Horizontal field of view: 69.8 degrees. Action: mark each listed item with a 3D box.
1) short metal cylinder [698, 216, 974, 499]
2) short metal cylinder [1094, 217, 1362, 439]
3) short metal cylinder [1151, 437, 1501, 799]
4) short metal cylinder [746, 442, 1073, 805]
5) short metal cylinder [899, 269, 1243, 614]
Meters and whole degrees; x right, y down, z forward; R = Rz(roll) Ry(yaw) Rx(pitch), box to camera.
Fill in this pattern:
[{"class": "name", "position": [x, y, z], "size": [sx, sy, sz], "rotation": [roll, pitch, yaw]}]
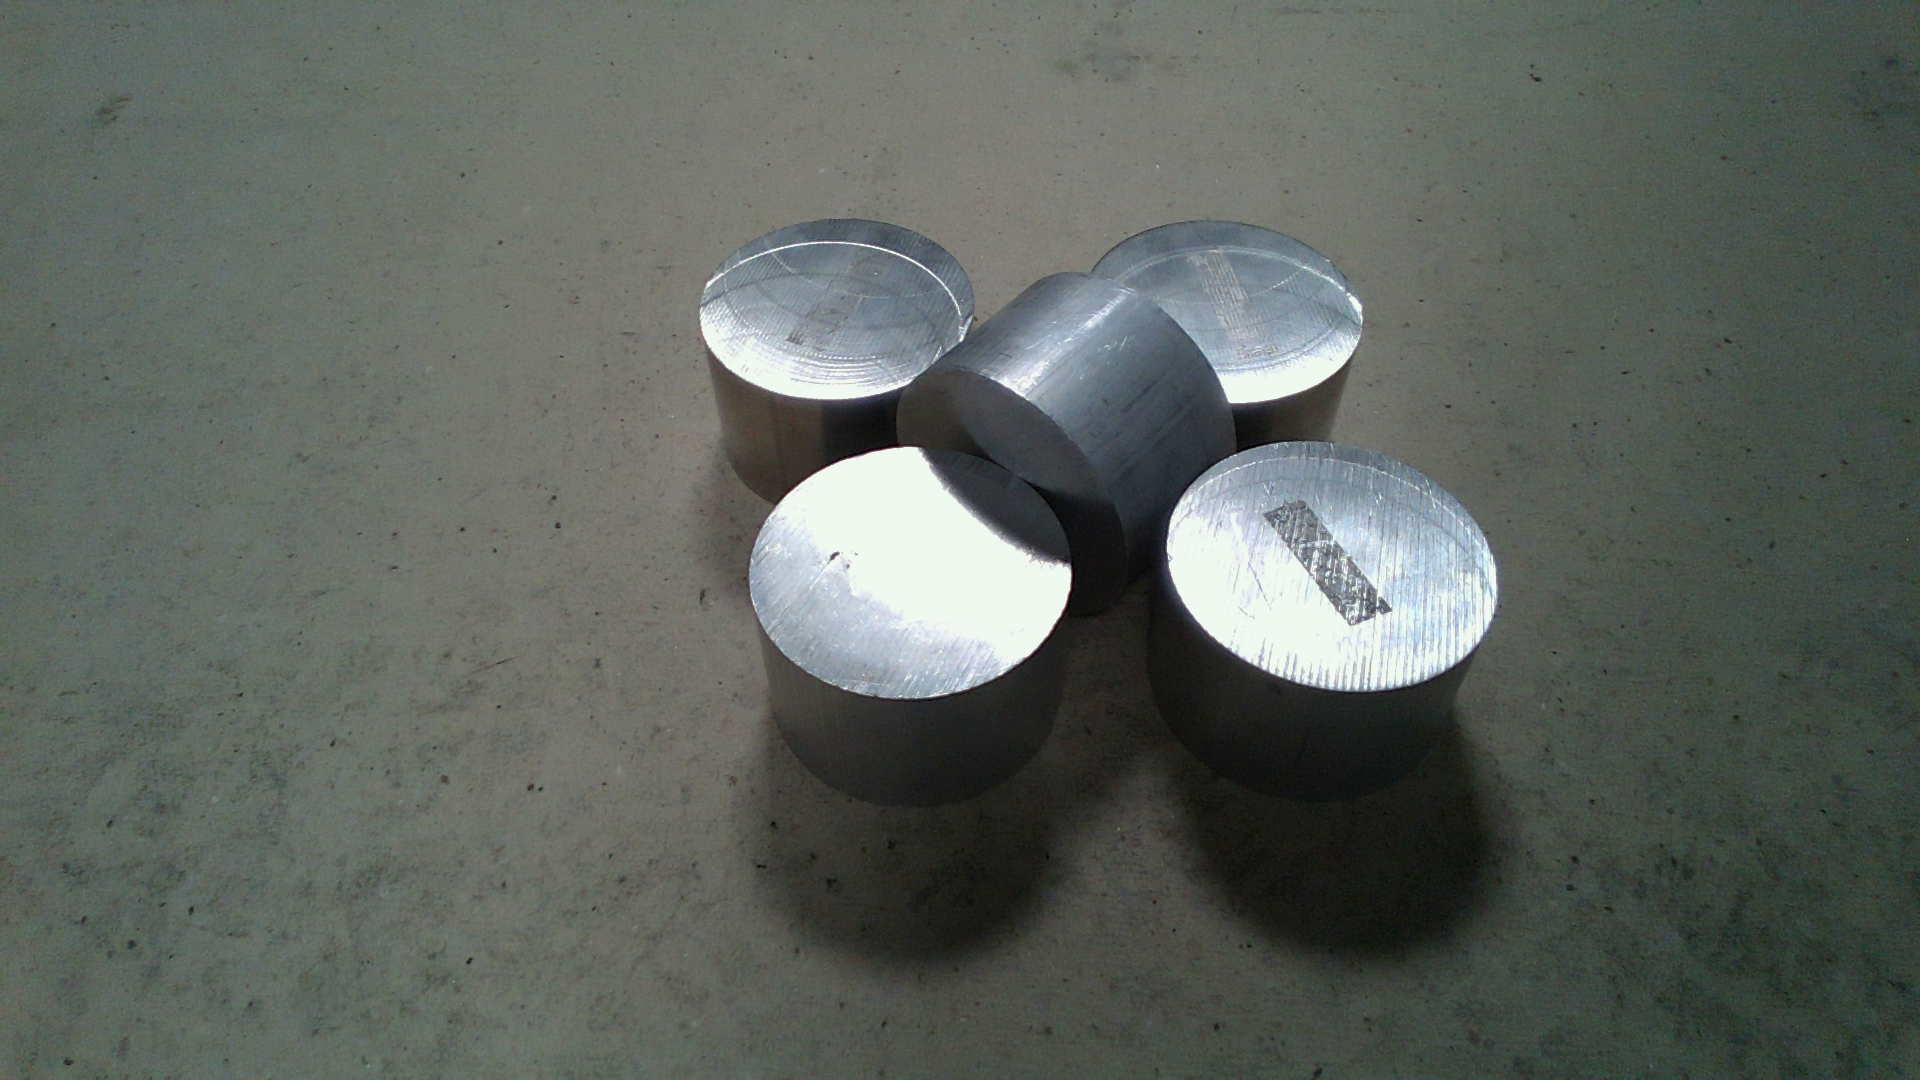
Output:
[{"class": "short metal cylinder", "position": [-0.036, -0.054, 0.419], "size": [0.080, 0.050, 0.080], "rotation": [0, 50, 0]}, {"class": "short metal cylinder", "position": [0.076, -0.053, 0.418], "size": [0.080, 0.050, 0.080], "rotation": [0, 50, 0]}, {"class": "short metal cylinder", "position": [0.092, 0.019, 0.358], "size": [0.080, 0.050, 0.080], "rotation": [0, 50, 0]}, {"class": "short metal cylinder", "position": [-0.012, 0.021, 0.357], "size": [0.080, 0.050, 0.080], "rotation": [0, 50, 0]}, {"class": "short metal cylinder", "position": [0.030, -0.026, 0.378], "size": [0.080, 0.080, 0.050], "rotation": [32, 57, 24]}]
